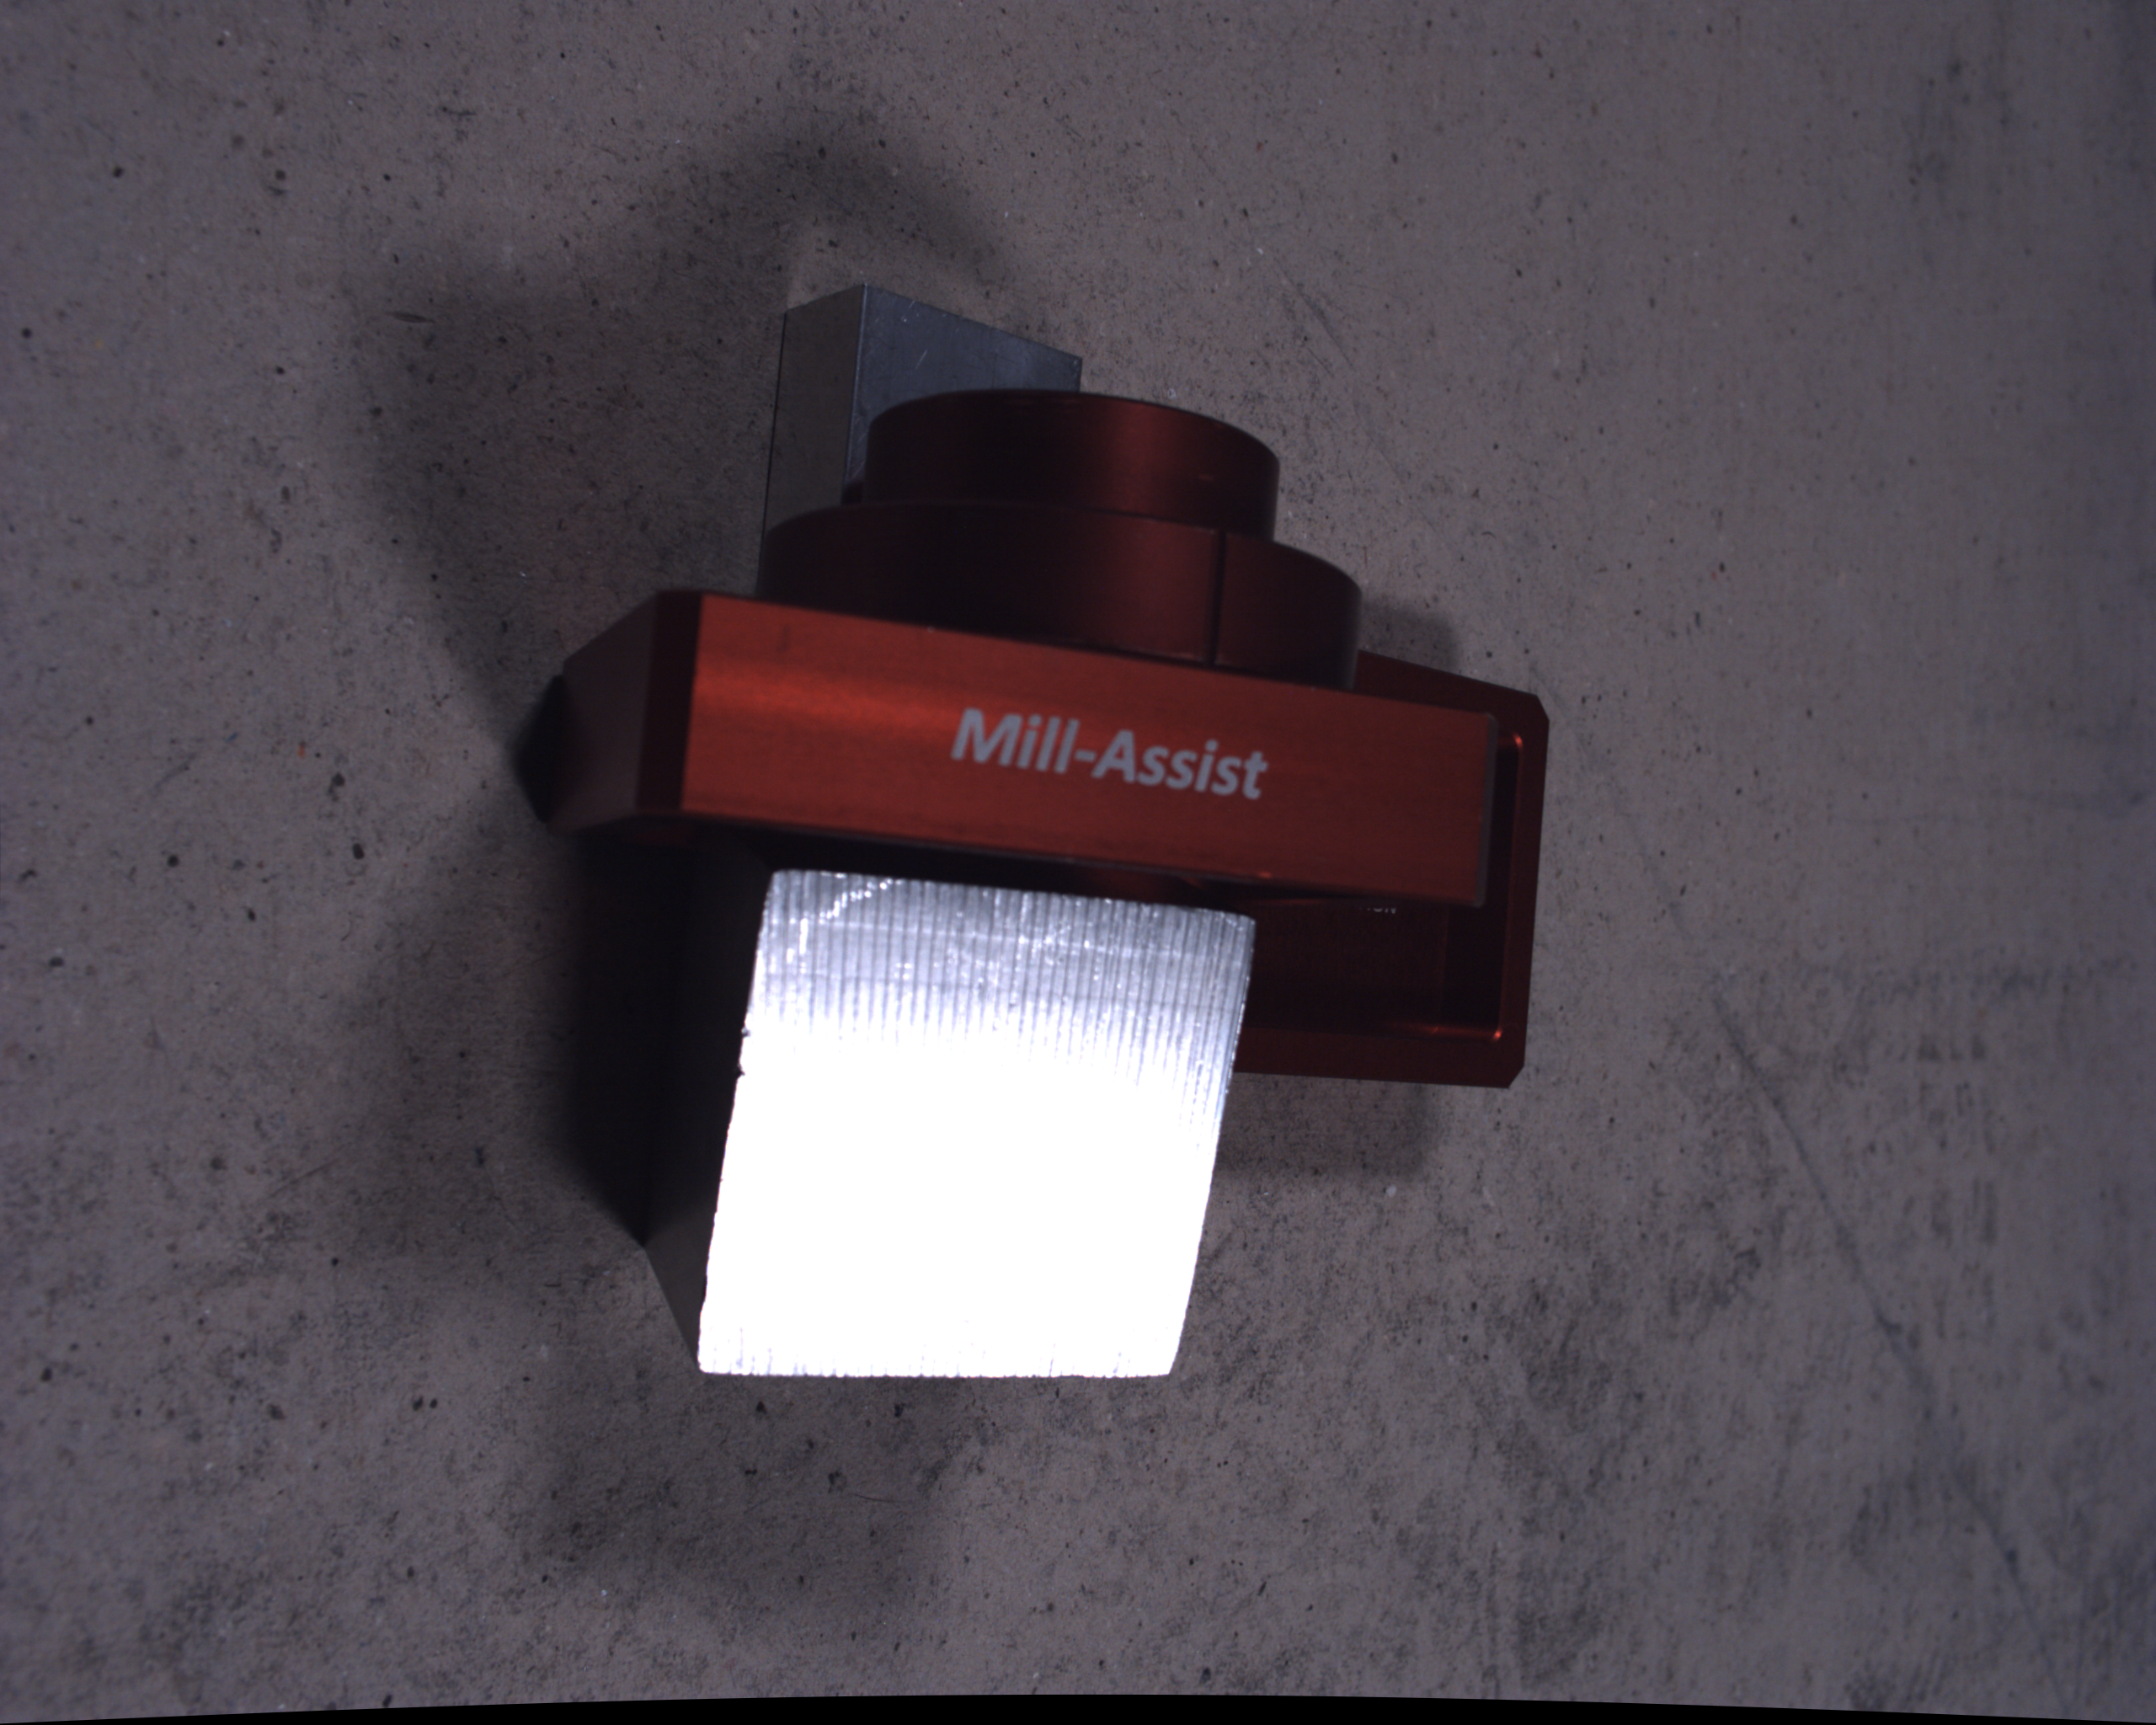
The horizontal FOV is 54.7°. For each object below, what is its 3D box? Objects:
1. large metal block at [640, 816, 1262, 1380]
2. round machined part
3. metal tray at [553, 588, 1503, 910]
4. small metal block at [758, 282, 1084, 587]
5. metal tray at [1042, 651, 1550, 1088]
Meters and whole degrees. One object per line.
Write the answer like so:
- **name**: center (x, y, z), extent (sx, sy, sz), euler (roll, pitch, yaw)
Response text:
- **large metal block**: center (-0.023, 0.038, 0.348), extent (0.081, 0.050, 0.079), euler (6, 99, -22)
- **round machined part**: center (-0.002, -0.048, 0.345), extent (0.099, 0.098, 0.042), euler (8, 85, -40)
- **metal tray**: center (-0.011, -0.014, 0.334), extent (0.131, 0.090, 0.030), euler (7, 86, -22)
- **small metal block**: center (-0.028, -0.073, 0.385), extent (0.050, 0.025, 0.050), euler (8, 85, -40)
- **metal tray**: center (0.046, 0.000, 0.444), extent (0.131, 0.030, 0.089), euler (8, 85, -40)
